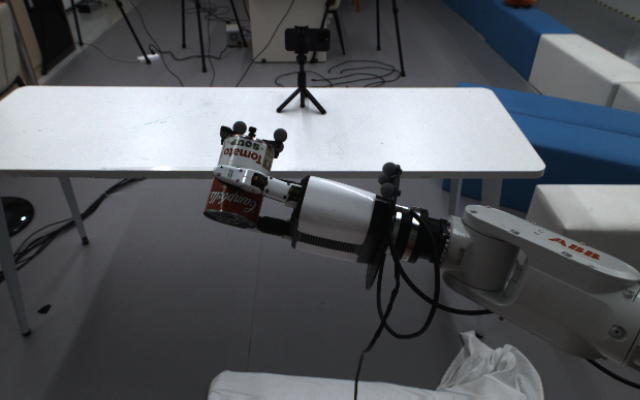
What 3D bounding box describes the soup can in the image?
[{"bbox_3d":[-0.099,-0.022,0.607,0.067,0.067,0.101,9,74,9],"label":"soup can"}]
